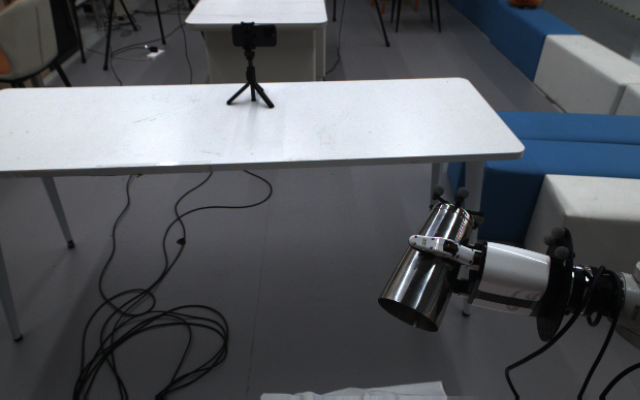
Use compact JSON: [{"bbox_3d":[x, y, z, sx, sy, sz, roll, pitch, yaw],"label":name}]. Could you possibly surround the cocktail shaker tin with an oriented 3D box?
[{"bbox_3d":[0.162,0.087,0.698,0.093,0.093,0.170,20,67,24],"label":"cocktail shaker tin"}]
